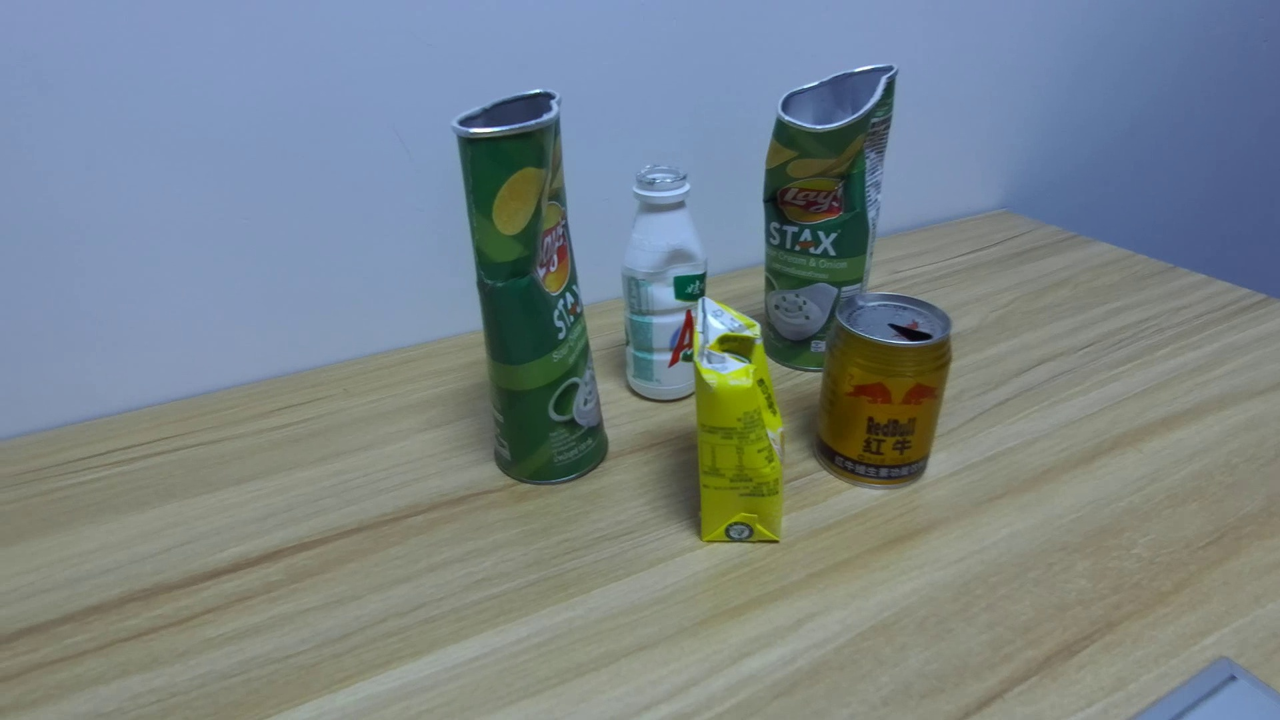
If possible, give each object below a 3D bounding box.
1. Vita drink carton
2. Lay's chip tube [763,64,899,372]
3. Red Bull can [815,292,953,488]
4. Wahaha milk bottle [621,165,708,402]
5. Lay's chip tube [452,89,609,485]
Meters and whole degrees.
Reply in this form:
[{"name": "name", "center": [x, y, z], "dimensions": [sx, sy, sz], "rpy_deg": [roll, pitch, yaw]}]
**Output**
[{"name": "Vita drink carton", "center": [0.052, 0.031, 0.358], "dimensions": [0.046, 0.110, 0.071], "rpy_deg": [0, 31, 6]}, {"name": "Lay's chip tube", "center": [0.121, -0.084, 0.469], "dimensions": [0.079, 0.200, 0.071], "rpy_deg": [1, 38, 8]}, {"name": "Red Bull can", "center": [0.136, 0.016, 0.398], "dimensions": [0.067, 0.093, 0.067], "rpy_deg": [0, 30, 0]}, {"name": "Wahaha milk bottle", "center": [0.017, -0.046, 0.455], "dimensions": [0.055, 0.149, 0.055], "rpy_deg": [0, 33, 0]}, {"name": "Lay's chip tube", "center": [-0.057, -0.032, 0.386], "dimensions": [0.069, 0.200, 0.074], "rpy_deg": [-16, 32, -22]}]
